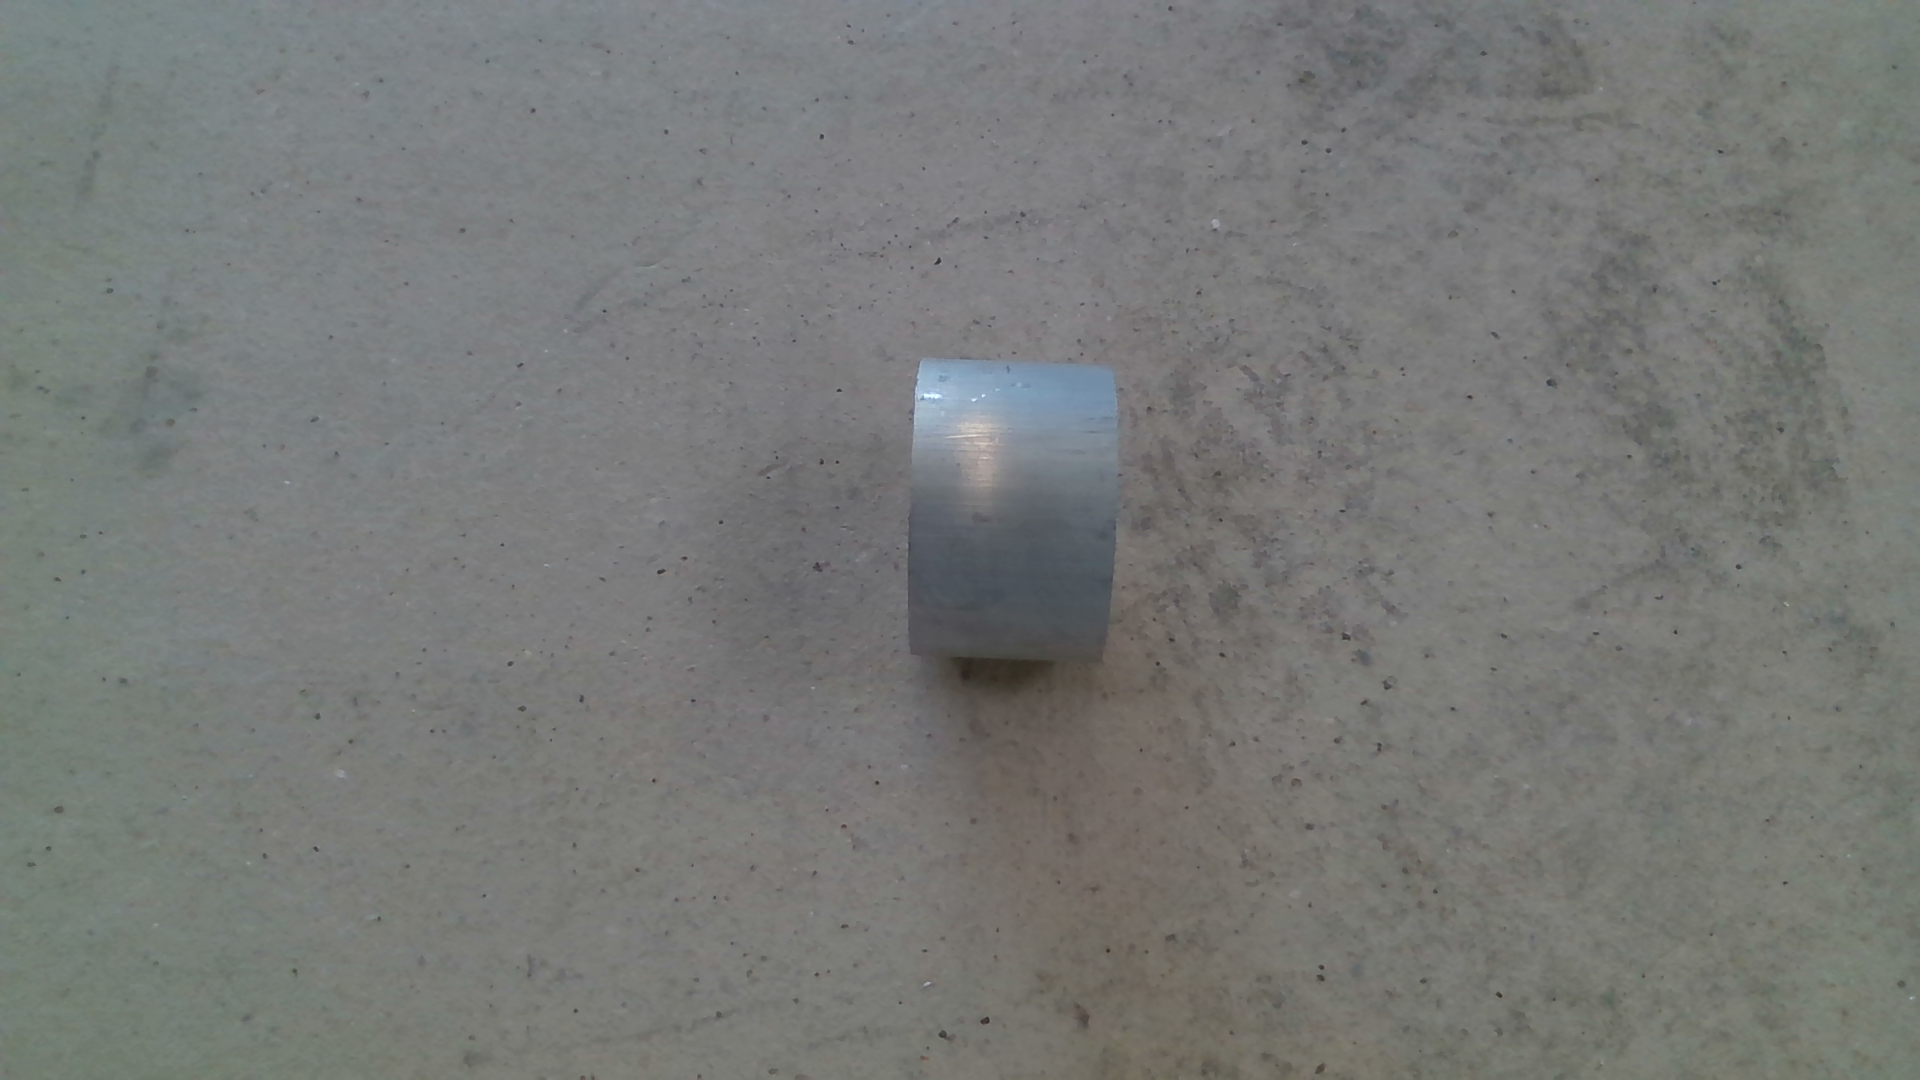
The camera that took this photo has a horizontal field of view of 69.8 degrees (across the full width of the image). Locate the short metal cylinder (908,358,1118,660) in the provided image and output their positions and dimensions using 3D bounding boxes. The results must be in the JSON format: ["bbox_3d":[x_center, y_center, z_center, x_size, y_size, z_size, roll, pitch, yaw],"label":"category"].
[{"bbox_3d":[0.013,-0.008,0.369,0.050,0.080,0.080,2,70,1],"label":"short metal cylinder"}]
